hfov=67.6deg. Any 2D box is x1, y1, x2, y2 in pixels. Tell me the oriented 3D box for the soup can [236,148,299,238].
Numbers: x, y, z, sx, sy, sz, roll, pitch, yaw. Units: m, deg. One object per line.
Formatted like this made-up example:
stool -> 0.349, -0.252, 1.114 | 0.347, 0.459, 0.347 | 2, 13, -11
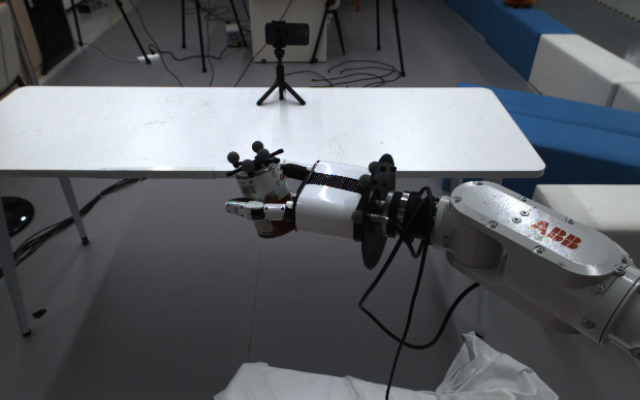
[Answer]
soup can -> -0.075, -0.003, 0.707 | 0.067, 0.101, 0.067 | -16, 23, 7
